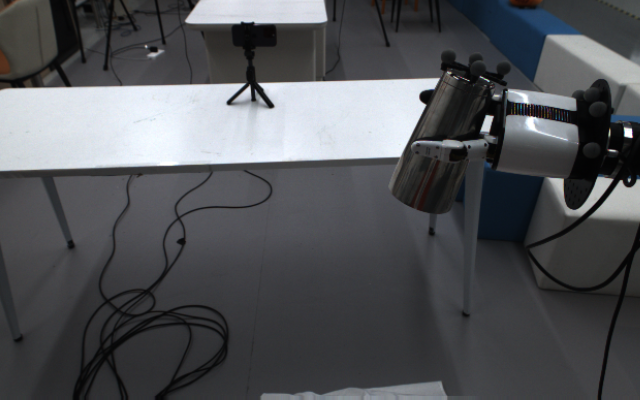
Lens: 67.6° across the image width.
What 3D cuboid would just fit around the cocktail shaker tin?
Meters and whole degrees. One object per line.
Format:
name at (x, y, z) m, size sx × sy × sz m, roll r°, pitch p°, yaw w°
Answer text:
cocktail shaker tin at (0.162, -0.081, 0.628) m, size 0.093 × 0.170 × 0.093 m, roll 12°, pitch 29°, yaw -7°
